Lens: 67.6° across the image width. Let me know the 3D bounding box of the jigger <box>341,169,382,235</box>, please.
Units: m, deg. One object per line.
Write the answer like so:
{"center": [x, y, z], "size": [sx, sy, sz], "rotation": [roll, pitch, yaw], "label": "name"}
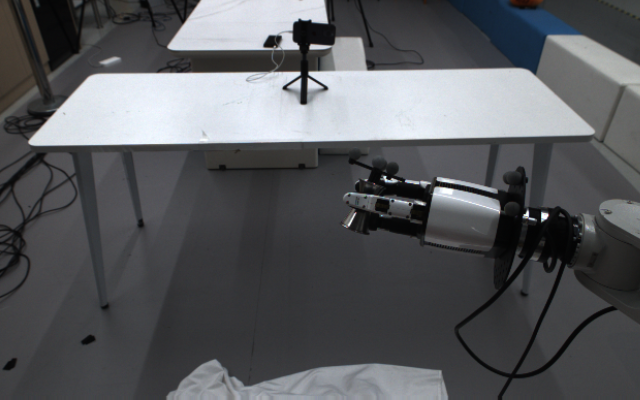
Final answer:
{"center": [0.057, 0.007, 0.653], "size": [0.043, 0.071, 0.043], "rotation": [22, 6, -2], "label": "jigger"}
